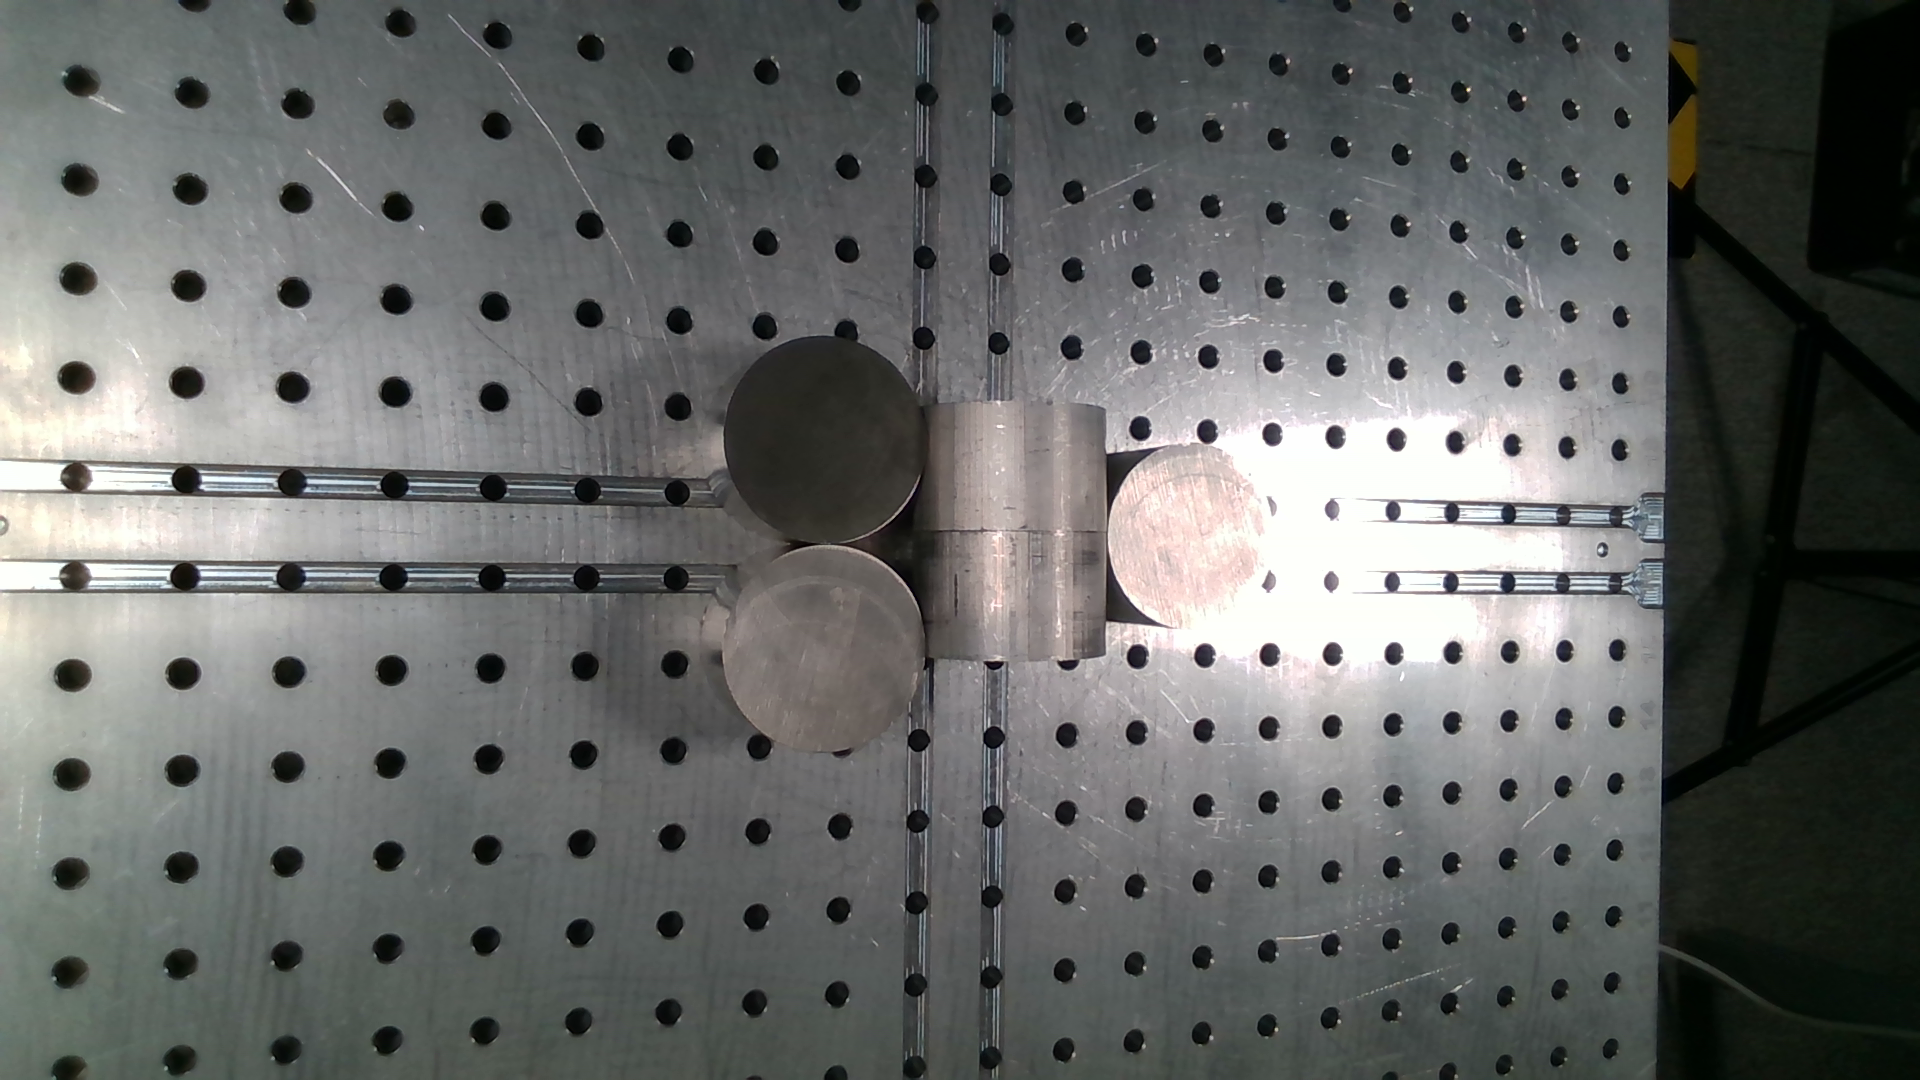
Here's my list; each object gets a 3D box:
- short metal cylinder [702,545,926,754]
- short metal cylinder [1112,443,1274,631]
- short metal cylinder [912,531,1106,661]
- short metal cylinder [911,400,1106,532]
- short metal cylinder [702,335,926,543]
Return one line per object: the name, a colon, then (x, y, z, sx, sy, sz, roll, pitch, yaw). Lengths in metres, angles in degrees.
short metal cylinder: (-0.060, 0.042, 0.552, 0.080, 0.050, 0.080, 0, 90, -20)
short metal cylinder: (0.090, -0.001, 0.608, 0.080, 0.050, 0.080, 0, 90, -20)
short metal cylinder: (0.020, 0.022, 0.567, 0.080, 0.080, 0.050, 0, 90, -20)
short metal cylinder: (0.020, -0.028, 0.567, 0.080, 0.080, 0.050, 0, 90, -20)
short metal cylinder: (-0.060, -0.039, 0.552, 0.080, 0.050, 0.080, 0, 90, -20)
